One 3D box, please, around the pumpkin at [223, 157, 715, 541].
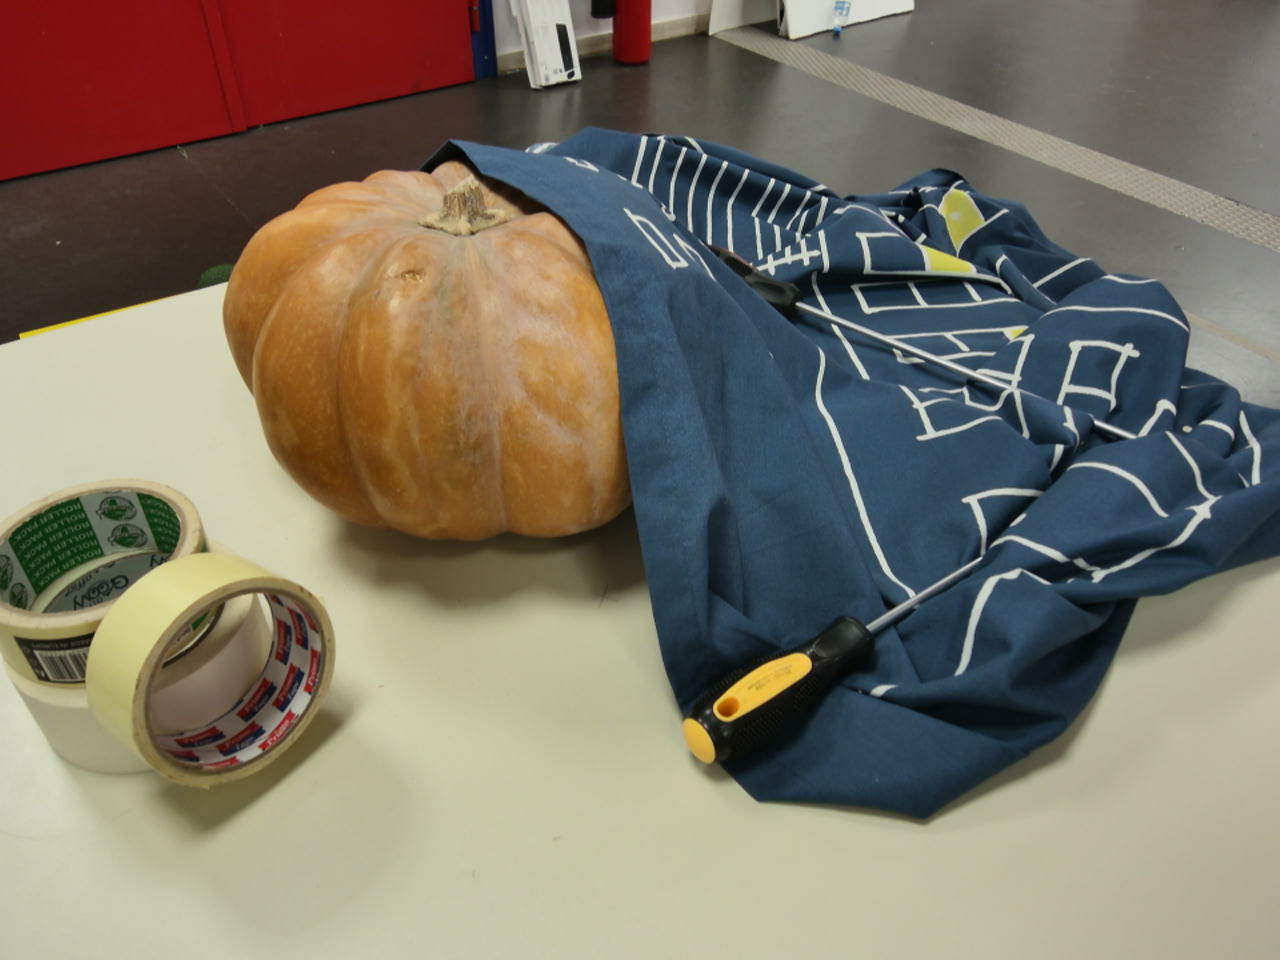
[{"bbox_3d":[-0.089,-0.078,0.564,0.277,0.181,0.277,0,39,0],"label":"pumpkin"}]
